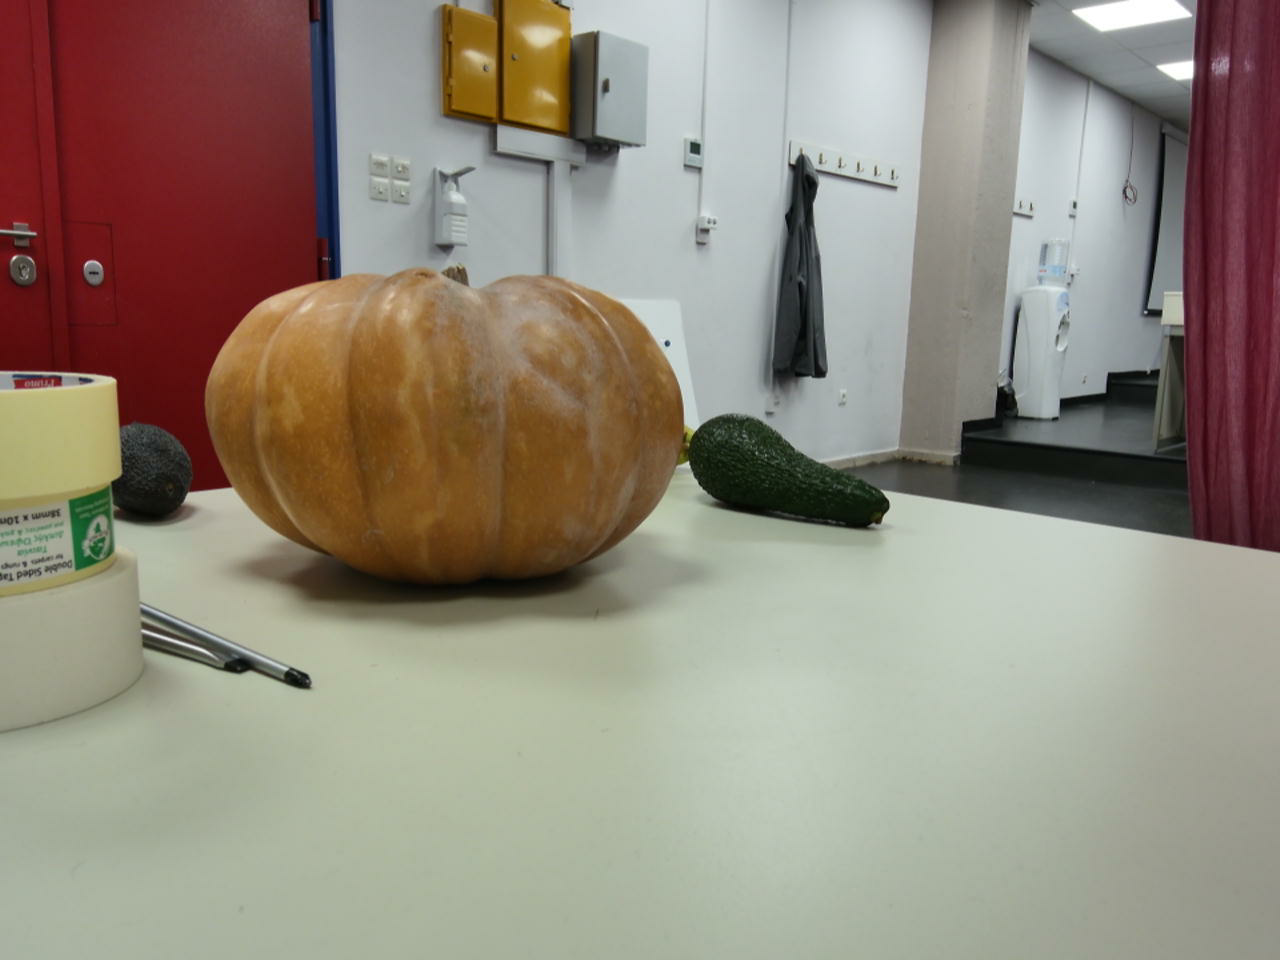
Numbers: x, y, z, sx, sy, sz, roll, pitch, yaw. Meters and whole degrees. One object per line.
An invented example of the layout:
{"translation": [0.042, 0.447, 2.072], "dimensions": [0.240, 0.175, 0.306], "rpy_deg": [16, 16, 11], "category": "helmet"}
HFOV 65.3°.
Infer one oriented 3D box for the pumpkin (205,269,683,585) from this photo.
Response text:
{"translation": [-0.111, -0.035, 0.598], "dimensions": [0.277, 0.181, 0.277], "rpy_deg": [0, 8, 0], "category": "pumpkin"}
